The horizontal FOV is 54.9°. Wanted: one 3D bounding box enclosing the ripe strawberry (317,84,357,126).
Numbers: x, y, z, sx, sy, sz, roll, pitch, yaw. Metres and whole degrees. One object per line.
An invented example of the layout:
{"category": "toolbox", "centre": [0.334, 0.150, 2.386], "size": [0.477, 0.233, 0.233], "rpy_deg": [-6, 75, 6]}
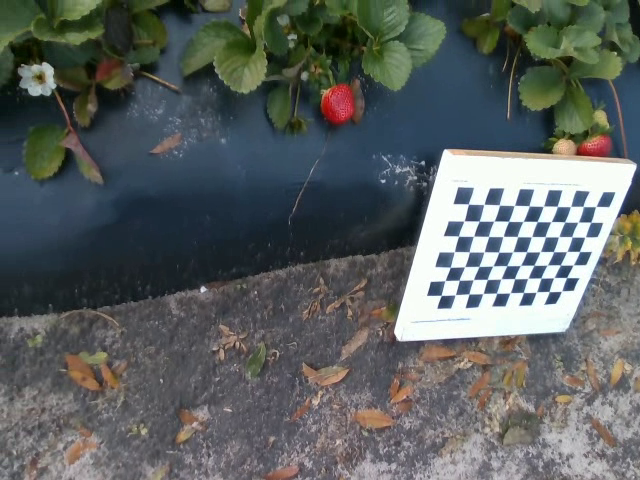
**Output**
{"category": "ripe strawberry", "centre": [0.023, -0.169, 0.784], "size": [0.050, 0.053, 0.049], "rpy_deg": [-8, -41, -18]}
